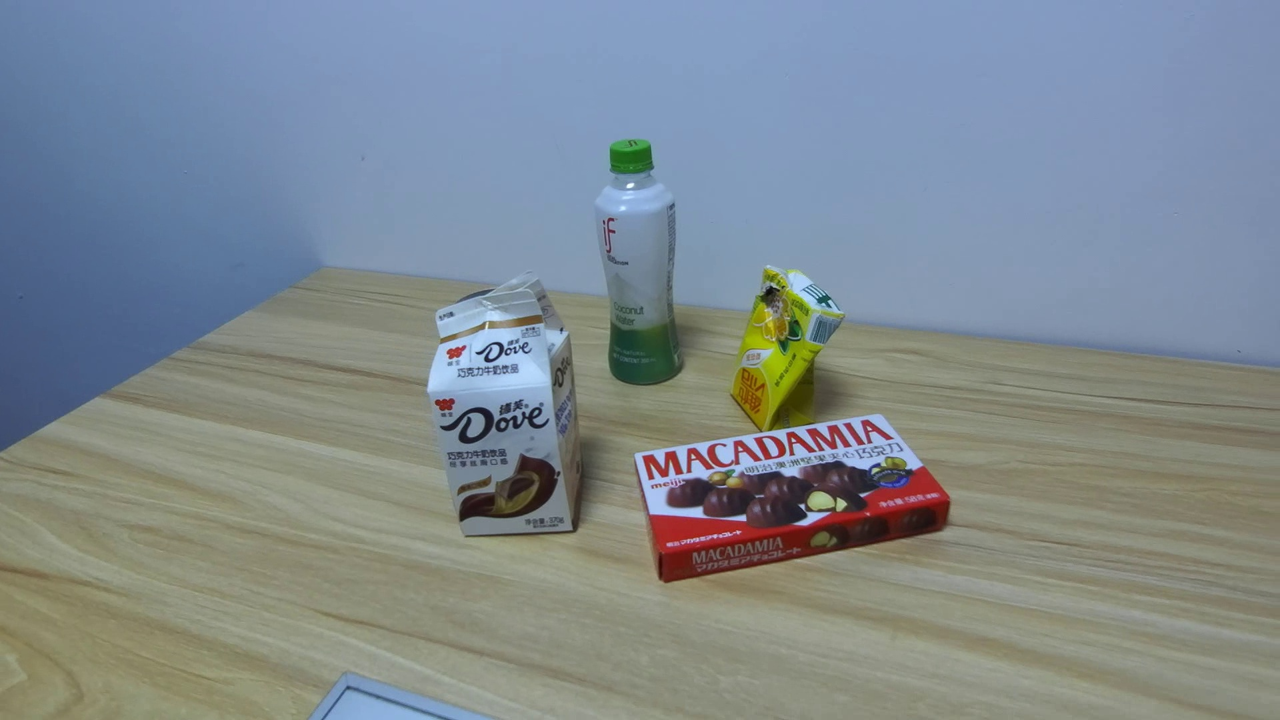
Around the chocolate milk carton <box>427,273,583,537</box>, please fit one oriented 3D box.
[{"bbox_3d":[-0.081,0.026,0.439,0.076,0.156,0.073,-3,30,2],"label":"chocolate milk carton"}]

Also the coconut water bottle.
[{"bbox_3d":[-0.001,-0.075,0.558,0.063,0.189,0.063,-3,29,2],"label":"coconut water bottle"}]

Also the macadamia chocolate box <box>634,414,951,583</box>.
[{"bbox_3d":[0.090,0.083,0.449,0.178,0.027,0.095,-8,31,-6],"label":"macadamia chocolate box"}]

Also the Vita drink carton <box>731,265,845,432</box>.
[{"bbox_3d":[0.108,-0.007,0.518,0.042,0.108,0.086,0,30,-22],"label":"Vita drink carton"}]
